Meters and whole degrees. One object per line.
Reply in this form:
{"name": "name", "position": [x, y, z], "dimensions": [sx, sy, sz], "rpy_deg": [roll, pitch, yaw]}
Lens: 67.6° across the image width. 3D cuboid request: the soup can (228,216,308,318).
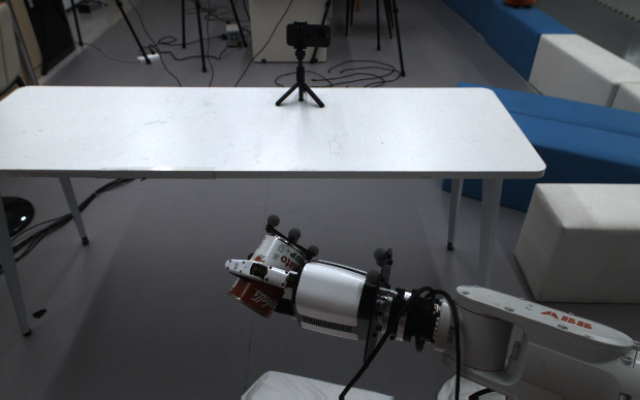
{"name": "soup can", "position": [-0.072, 0.106, 0.671], "dimensions": [0.067, 0.067, 0.101], "rpy_deg": [24, 73, 29]}
